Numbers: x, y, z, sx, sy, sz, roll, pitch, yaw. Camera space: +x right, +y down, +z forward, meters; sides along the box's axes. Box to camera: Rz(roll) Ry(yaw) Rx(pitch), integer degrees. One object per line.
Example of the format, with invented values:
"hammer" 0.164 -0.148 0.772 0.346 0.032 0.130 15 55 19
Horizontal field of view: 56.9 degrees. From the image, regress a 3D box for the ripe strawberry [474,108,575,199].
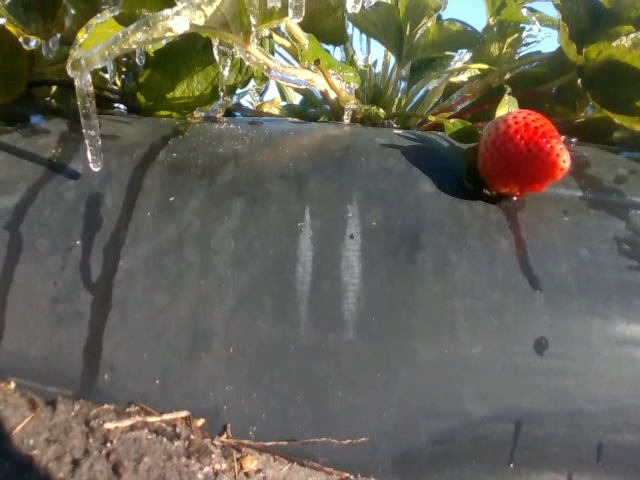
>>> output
"ripe strawberry" 0.088 -0.035 0.246 0.039 0.041 0.053 -6 22 -8
